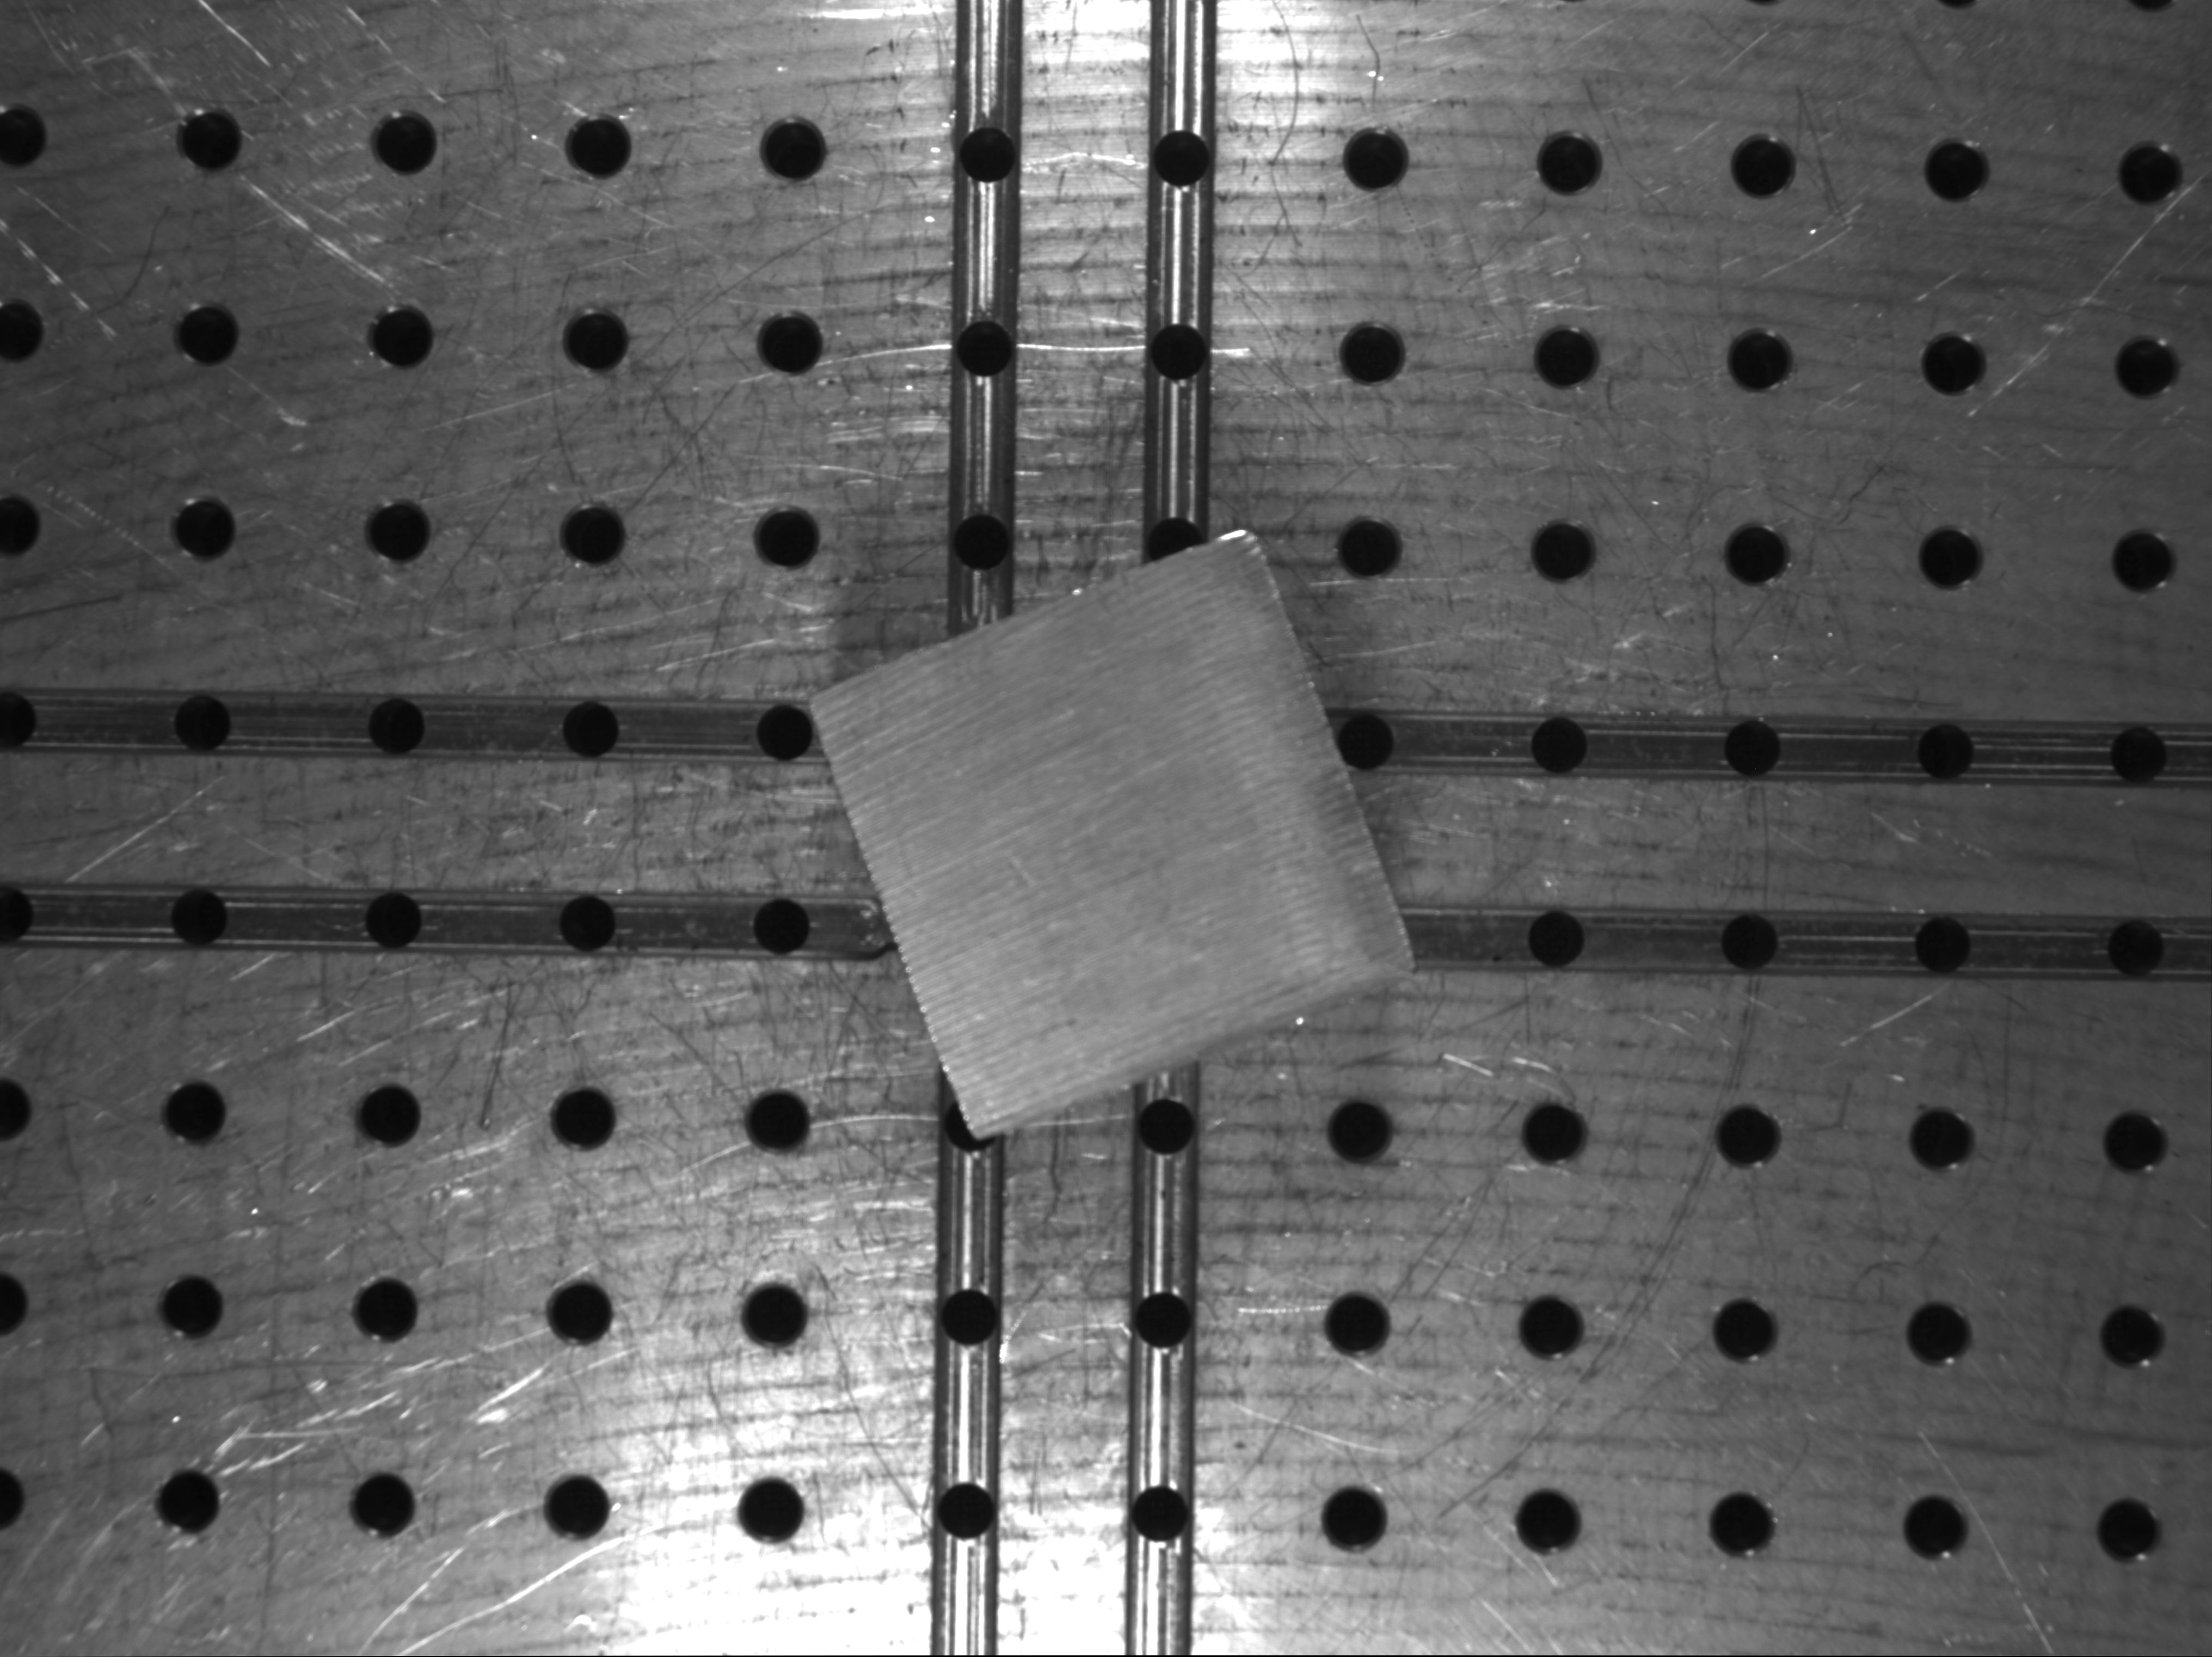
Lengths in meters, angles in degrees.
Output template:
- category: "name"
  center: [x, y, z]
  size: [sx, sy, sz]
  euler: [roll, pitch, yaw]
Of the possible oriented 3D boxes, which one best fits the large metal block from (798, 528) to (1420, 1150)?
- category: "large metal block"
  center: [0.000, 0.002, 0.632]
  size: [0.080, 0.050, 0.080]
  euler: [-21, 90, 0]
